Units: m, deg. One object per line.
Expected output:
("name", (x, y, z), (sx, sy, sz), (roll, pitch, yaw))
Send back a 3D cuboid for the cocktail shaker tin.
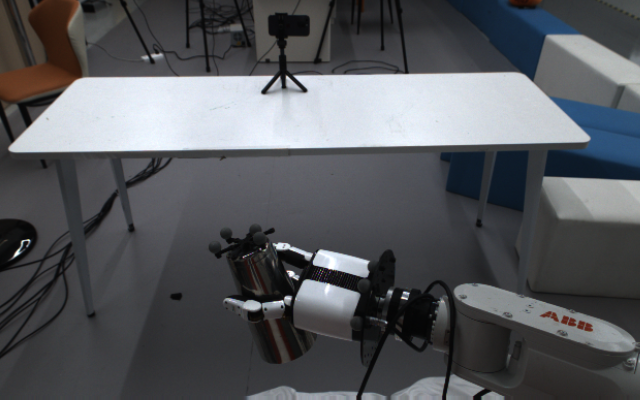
("cocktail shaker tin", (-0.075, 0.141, 0.701), (0.093, 0.170, 0.093), (-17, 20, 6))
